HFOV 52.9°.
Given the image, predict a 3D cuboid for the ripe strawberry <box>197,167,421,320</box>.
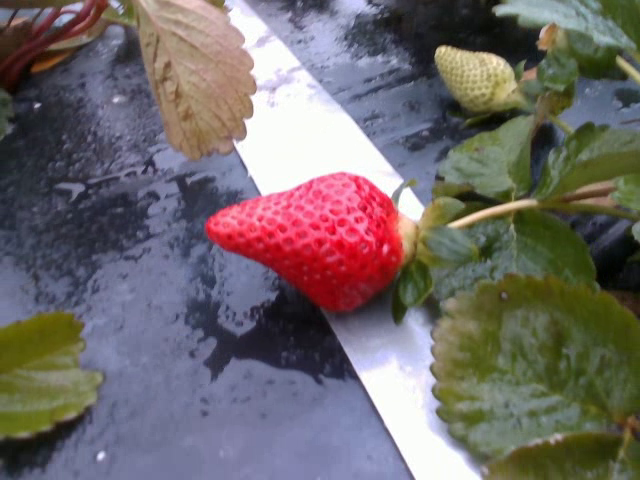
[{"bbox_3d":[-0.004,-0.002,0.158,0.051,0.042,0.038,3,-20,-17],"label":"ripe strawberry"}]
